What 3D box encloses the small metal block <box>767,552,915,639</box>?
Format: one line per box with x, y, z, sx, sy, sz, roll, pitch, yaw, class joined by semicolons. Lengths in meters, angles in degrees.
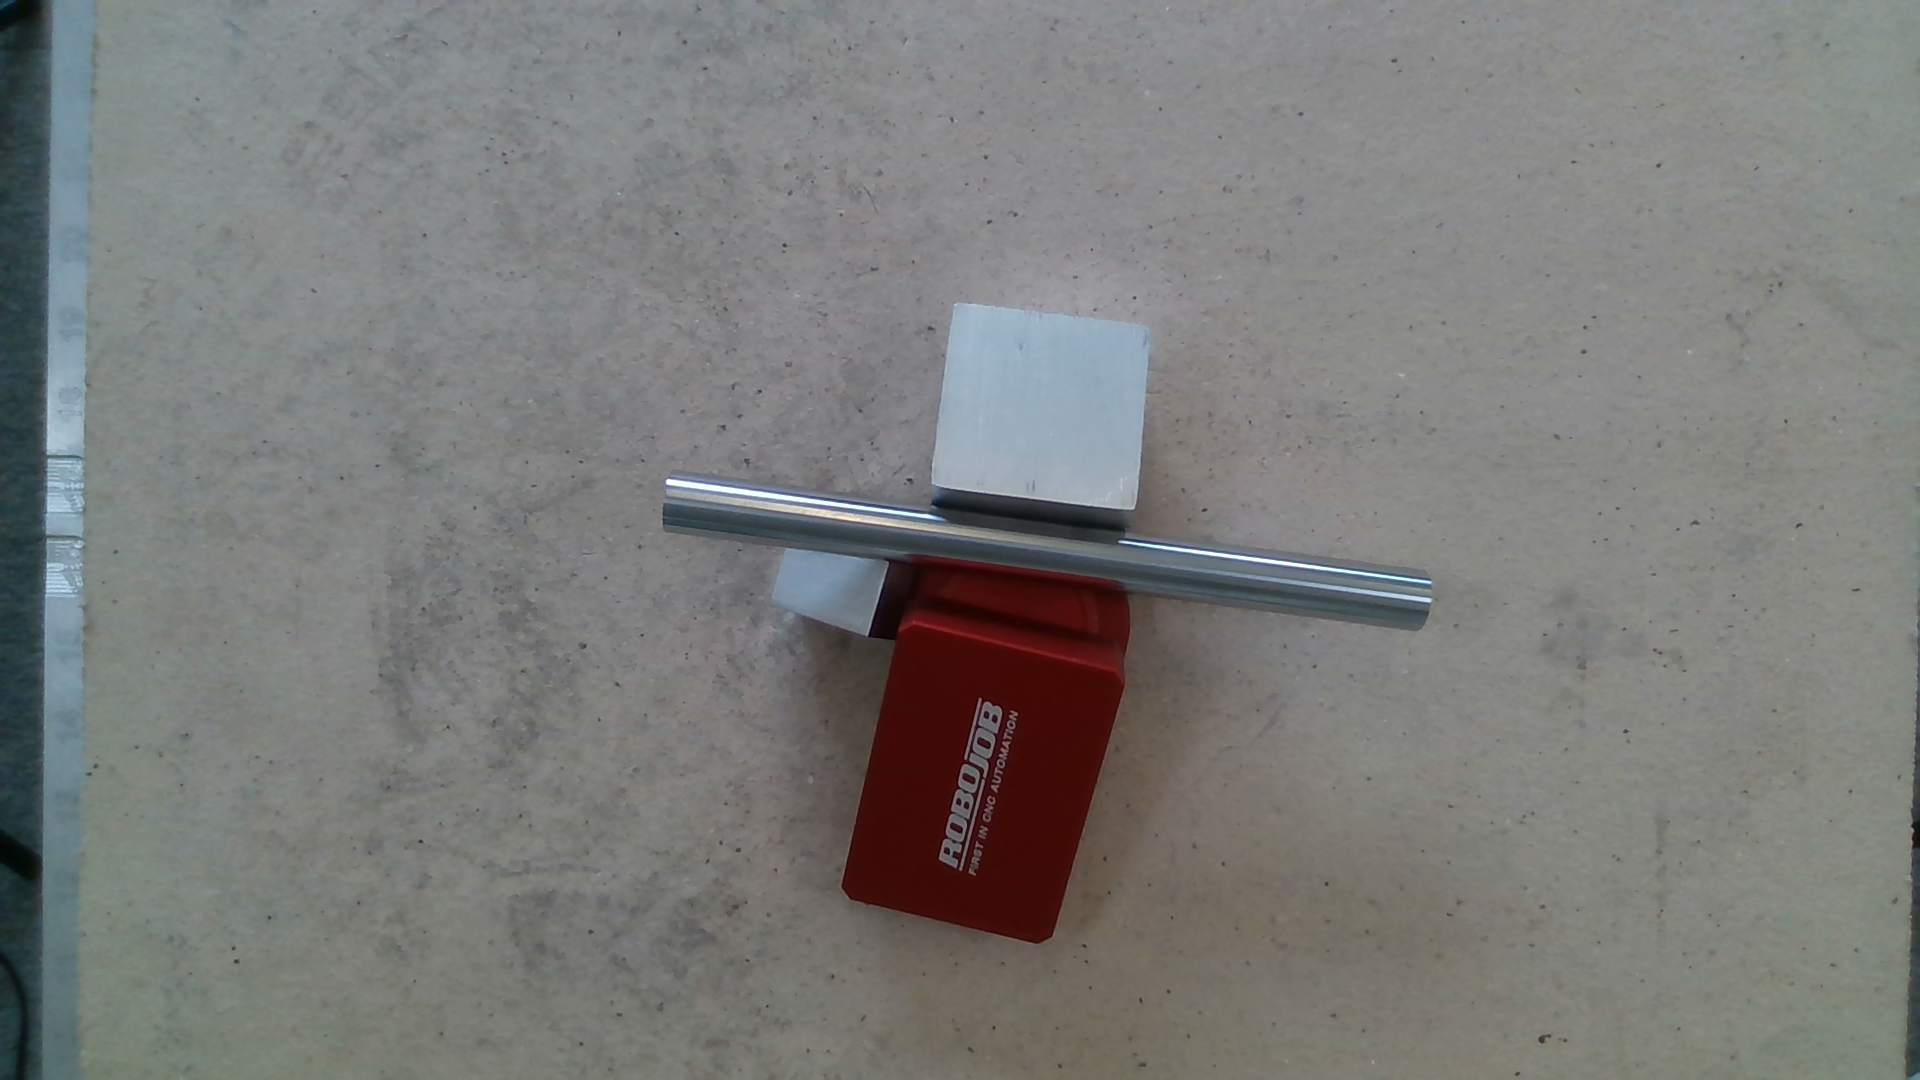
-0.047;0.010;0.578;0.050;0.025;0.050;15;90;25;small metal block

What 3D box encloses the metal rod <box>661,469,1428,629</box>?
0.034;0.004;0.546;0.300;0.025;0.025;8;90;-2;metal rod

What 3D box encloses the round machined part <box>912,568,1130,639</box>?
0.023;0.035;0.579;0.098;0.042;0.098;0;91;0;round machined part

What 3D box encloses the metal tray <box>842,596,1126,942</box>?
0.009;0.094;0.564;0.090;0.030;0.130;13;111;1;metal tray

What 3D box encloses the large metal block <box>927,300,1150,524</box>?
0.031;-0.046;0.564;0.080;0.050;0.080;7;72;0;large metal block
